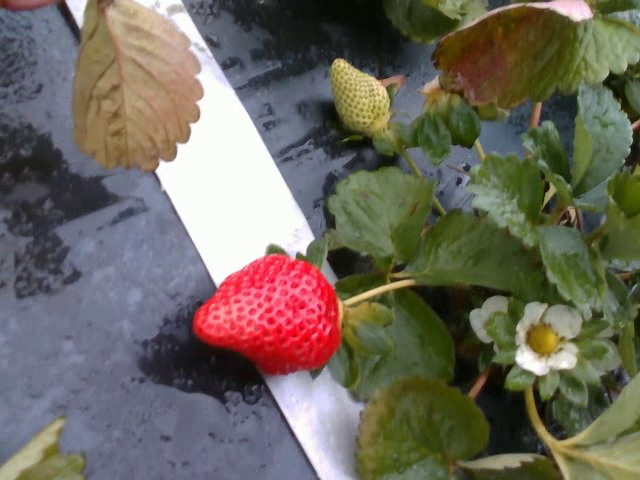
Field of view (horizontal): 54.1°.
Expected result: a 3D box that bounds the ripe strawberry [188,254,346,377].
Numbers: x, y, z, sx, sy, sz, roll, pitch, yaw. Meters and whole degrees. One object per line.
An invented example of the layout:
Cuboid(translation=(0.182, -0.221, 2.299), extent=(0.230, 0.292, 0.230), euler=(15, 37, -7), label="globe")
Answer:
Cuboid(translation=(-0.016, 0.021, 0.172), extent=(0.037, 0.042, 0.051), euler=(6, 4, 41), label="ripe strawberry")
